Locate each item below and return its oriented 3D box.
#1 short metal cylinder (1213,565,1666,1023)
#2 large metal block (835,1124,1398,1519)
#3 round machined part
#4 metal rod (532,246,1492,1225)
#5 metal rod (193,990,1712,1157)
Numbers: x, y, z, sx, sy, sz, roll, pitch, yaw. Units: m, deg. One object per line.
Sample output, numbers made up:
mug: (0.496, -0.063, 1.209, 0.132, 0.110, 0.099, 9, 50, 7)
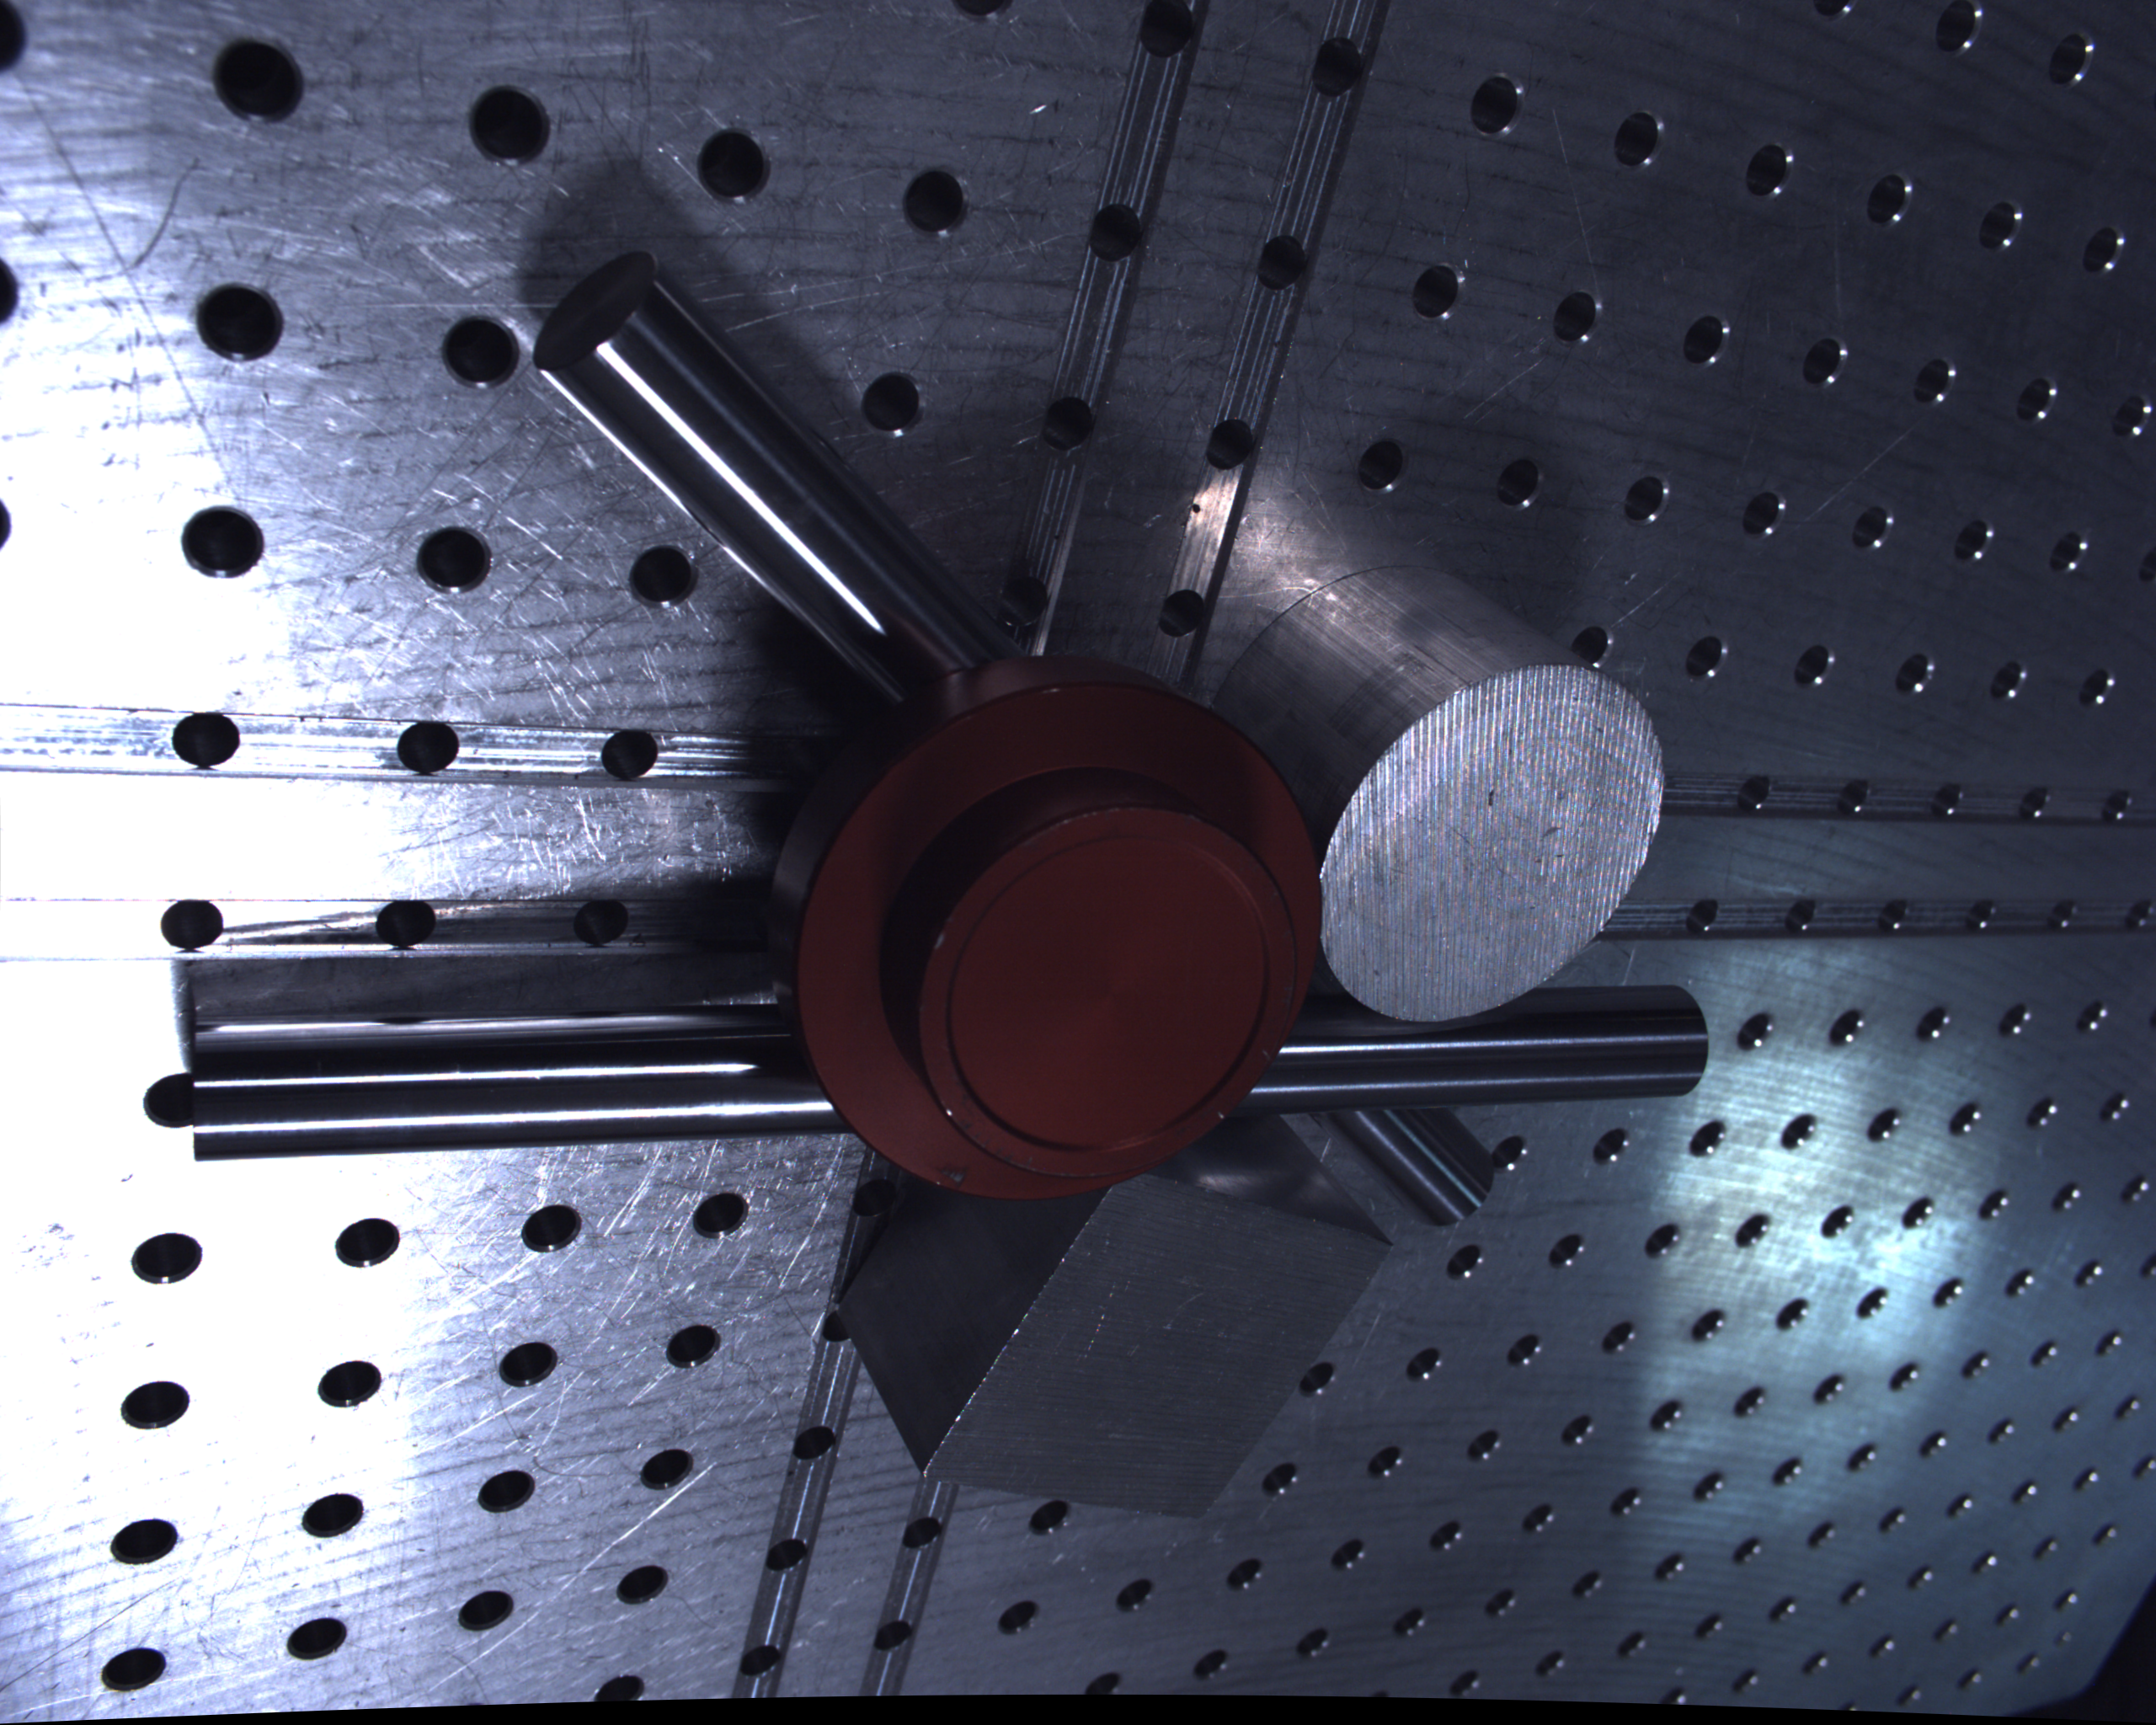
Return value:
short metal cylinder: (0.071, -0.014, 0.426, 0.081, 0.050, 0.079, -14, 125, -21)
large metal block: (0.008, 0.091, 0.454, 0.080, 0.050, 0.080, 22, 107, -37)
round machined part: (-0.002, 0.015, 0.366, 0.099, 0.042, 0.097, -8, 113, -20)
metal rod: (0.008, -0.004, 0.415, 0.025, 0.025, 0.300, -44, 130, 2)
metal rod: (-0.009, 0.039, 0.408, 0.303, 0.025, 0.025, 1, 118, -21)
